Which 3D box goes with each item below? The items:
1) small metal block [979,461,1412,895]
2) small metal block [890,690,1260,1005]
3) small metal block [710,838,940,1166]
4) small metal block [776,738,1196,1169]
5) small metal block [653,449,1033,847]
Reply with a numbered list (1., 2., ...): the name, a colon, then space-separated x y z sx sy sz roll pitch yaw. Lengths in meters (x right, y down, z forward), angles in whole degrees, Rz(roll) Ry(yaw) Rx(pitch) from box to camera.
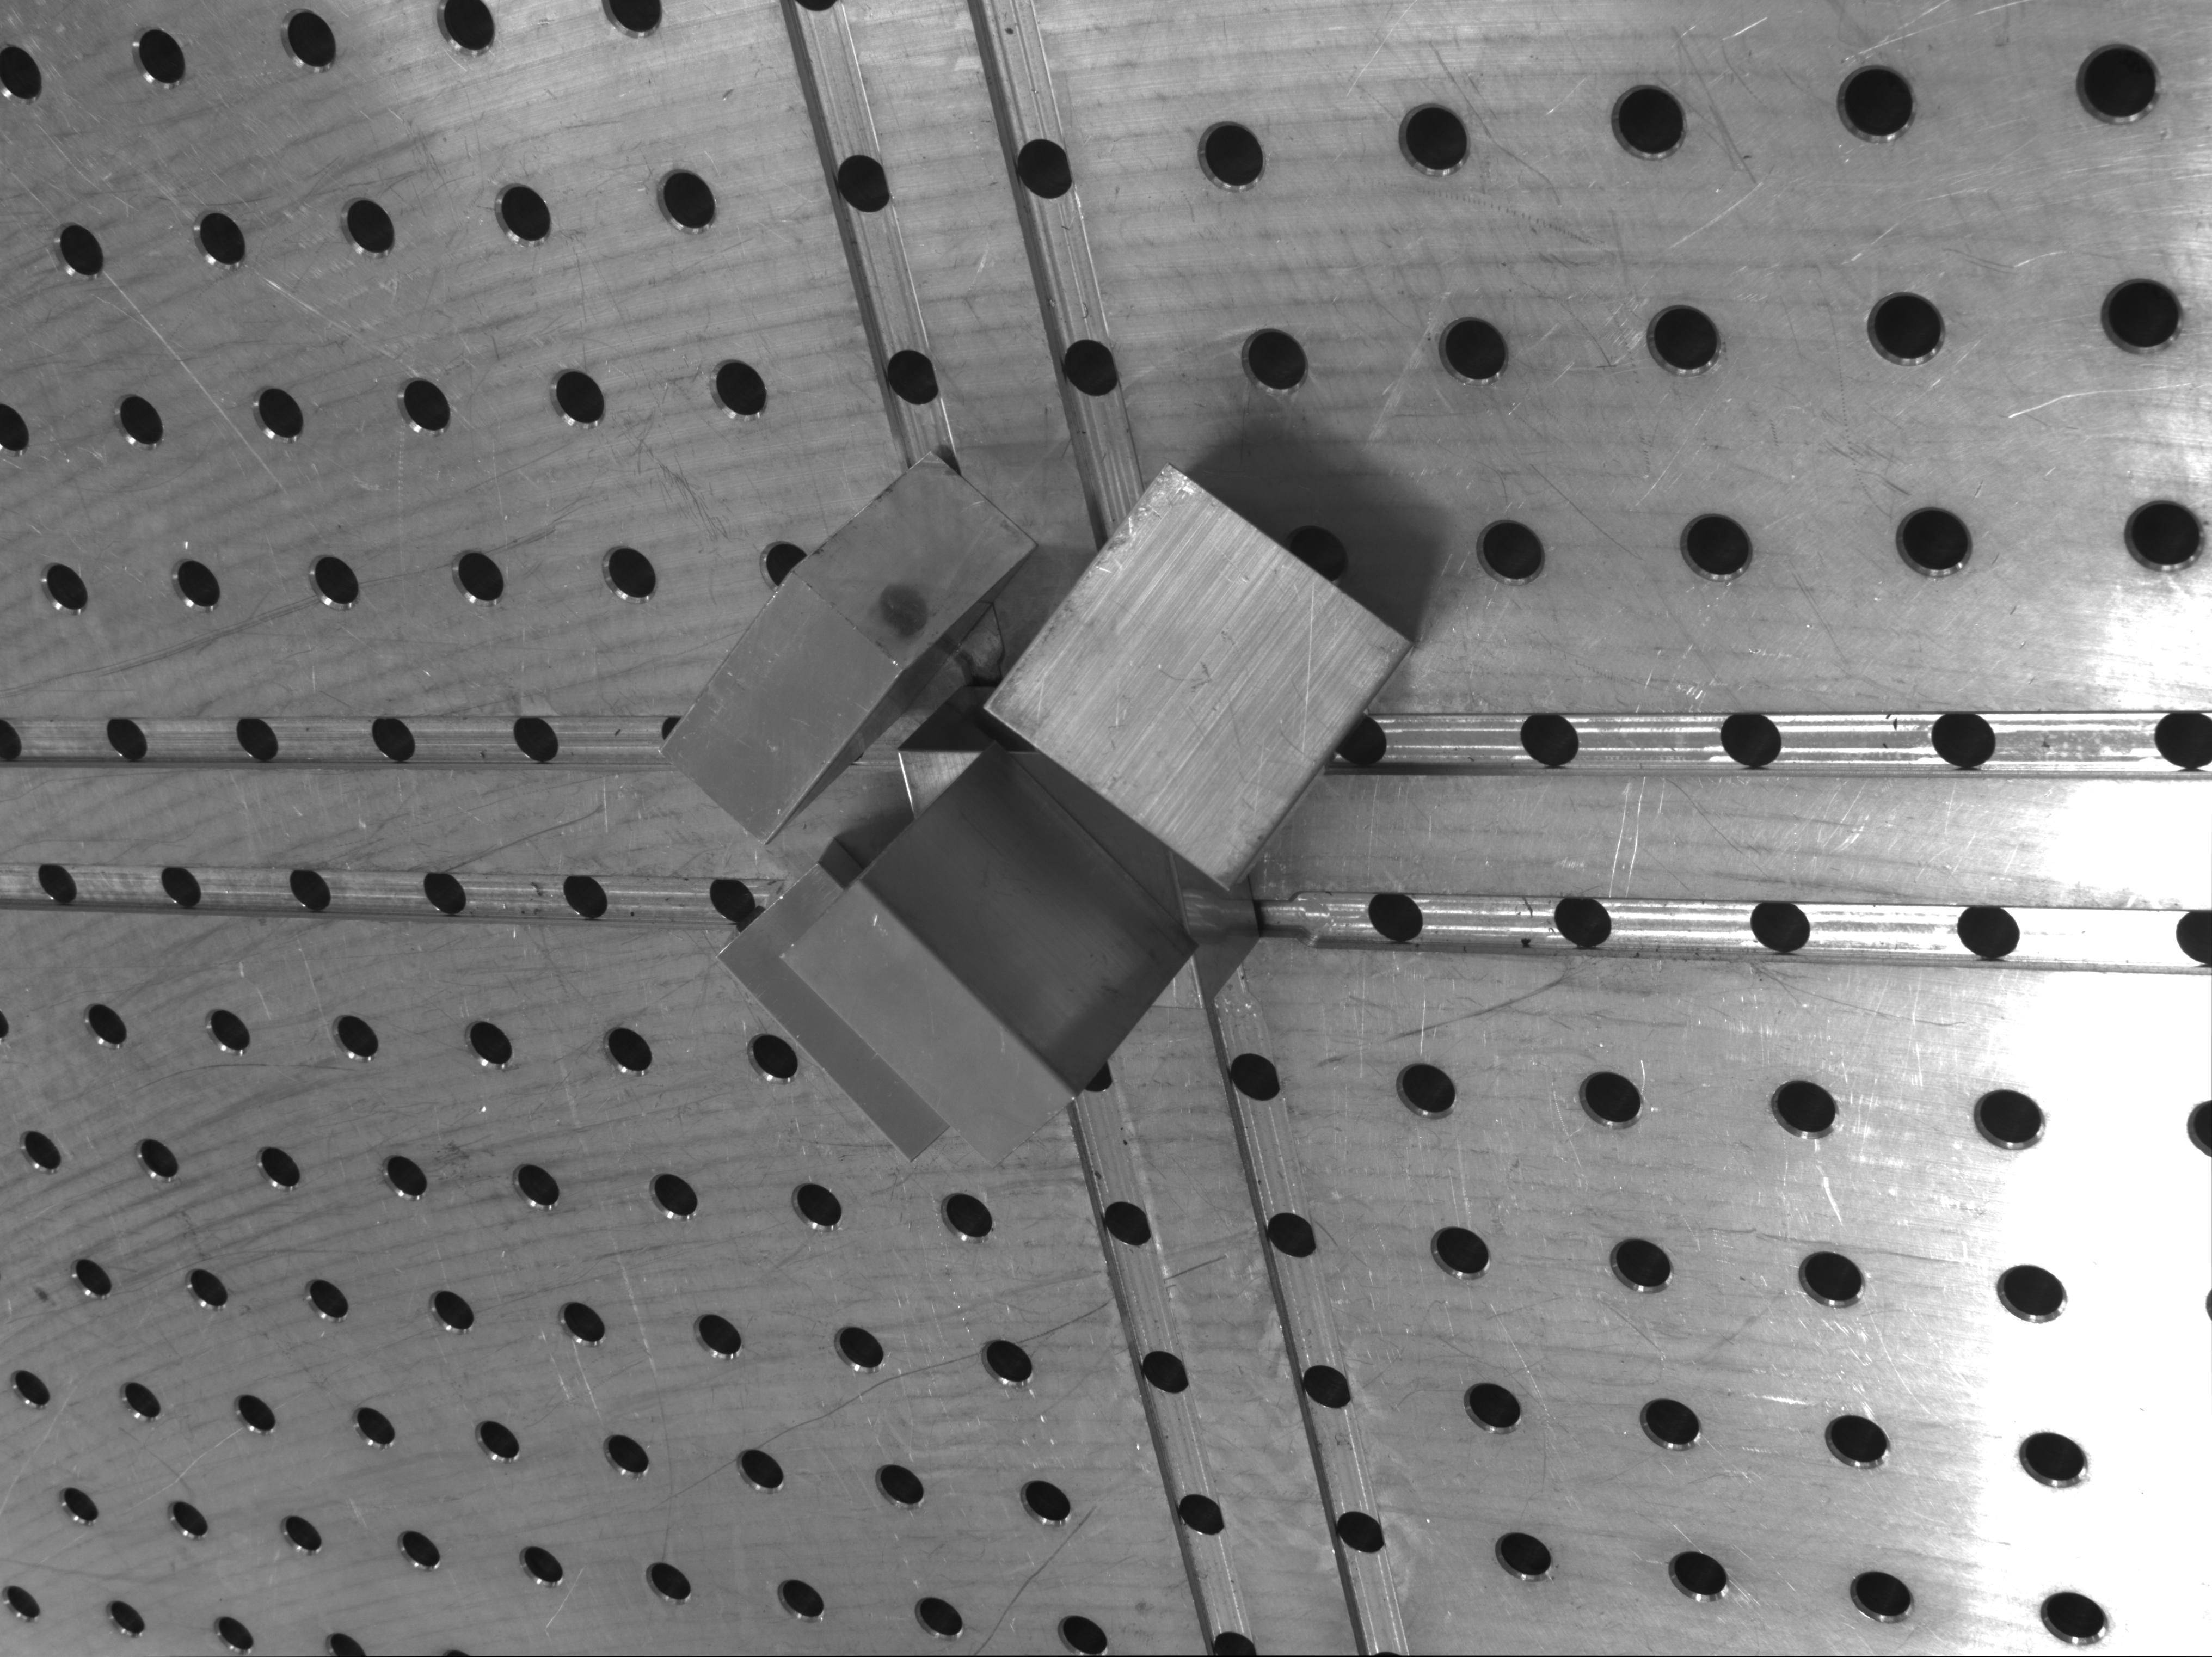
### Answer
1. small metal block: 0.015 -0.024 0.606 0.050 0.025 0.050 37 89 4
2. small metal block: -0.005 0.003 0.650 0.050 0.025 0.050 0 118 27
3. small metal block: -0.044 0.031 0.669 0.025 0.050 0.050 -42 95 2
4. small metal block: -0.020 0.021 0.621 0.050 0.050 0.025 45 128 -4
5. small metal block: -0.045 -0.031 0.635 0.025 0.050 0.050 42 129 0
